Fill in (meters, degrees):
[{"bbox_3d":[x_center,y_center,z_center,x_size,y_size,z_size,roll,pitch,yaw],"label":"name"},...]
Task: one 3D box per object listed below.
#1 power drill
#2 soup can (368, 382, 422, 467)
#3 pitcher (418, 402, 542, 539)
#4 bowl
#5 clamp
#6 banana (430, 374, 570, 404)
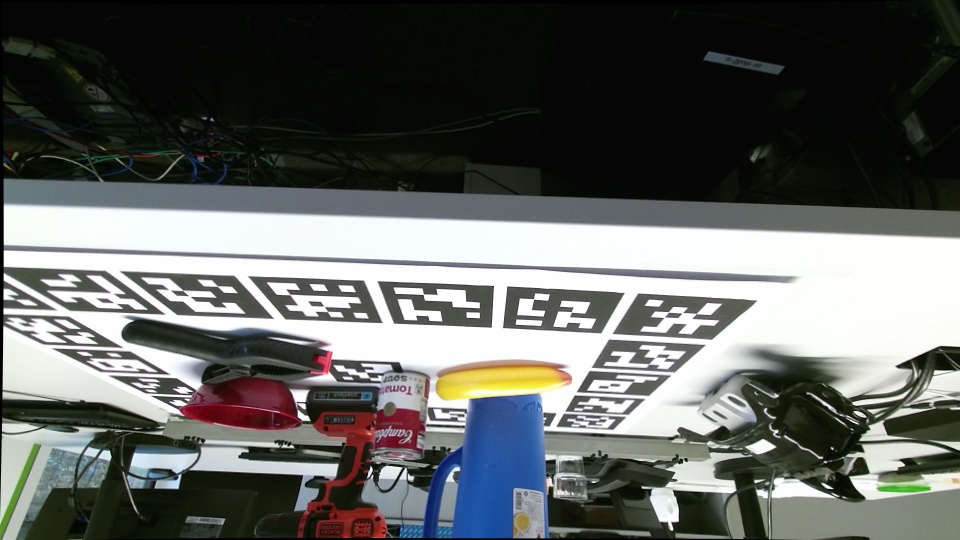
[{"bbox_3d":[-0.231,0.304,0.759,0.185,0.186,0.057,-1,149,6],"label":"power drill"},{"bbox_3d":[-0.112,0.203,0.704,0.068,0.101,0.068,1,157,1],"label":"soup can"},{"bbox_3d":[0.007,0.299,0.717,0.189,0.241,0.134,-12,149,22],"label":"pitcher"},{"bbox_3d":[-0.339,0.200,0.755,0.162,0.055,0.162,1,148,1],"label":"bowl"},{"bbox_3d":[-0.281,0.117,0.619,0.203,0.036,0.165,0,145,4],"label":"clamp"},{"bbox_3d":[0.012,0.152,0.674,0.198,0.038,0.074,-11,155,24],"label":"banana"}]
